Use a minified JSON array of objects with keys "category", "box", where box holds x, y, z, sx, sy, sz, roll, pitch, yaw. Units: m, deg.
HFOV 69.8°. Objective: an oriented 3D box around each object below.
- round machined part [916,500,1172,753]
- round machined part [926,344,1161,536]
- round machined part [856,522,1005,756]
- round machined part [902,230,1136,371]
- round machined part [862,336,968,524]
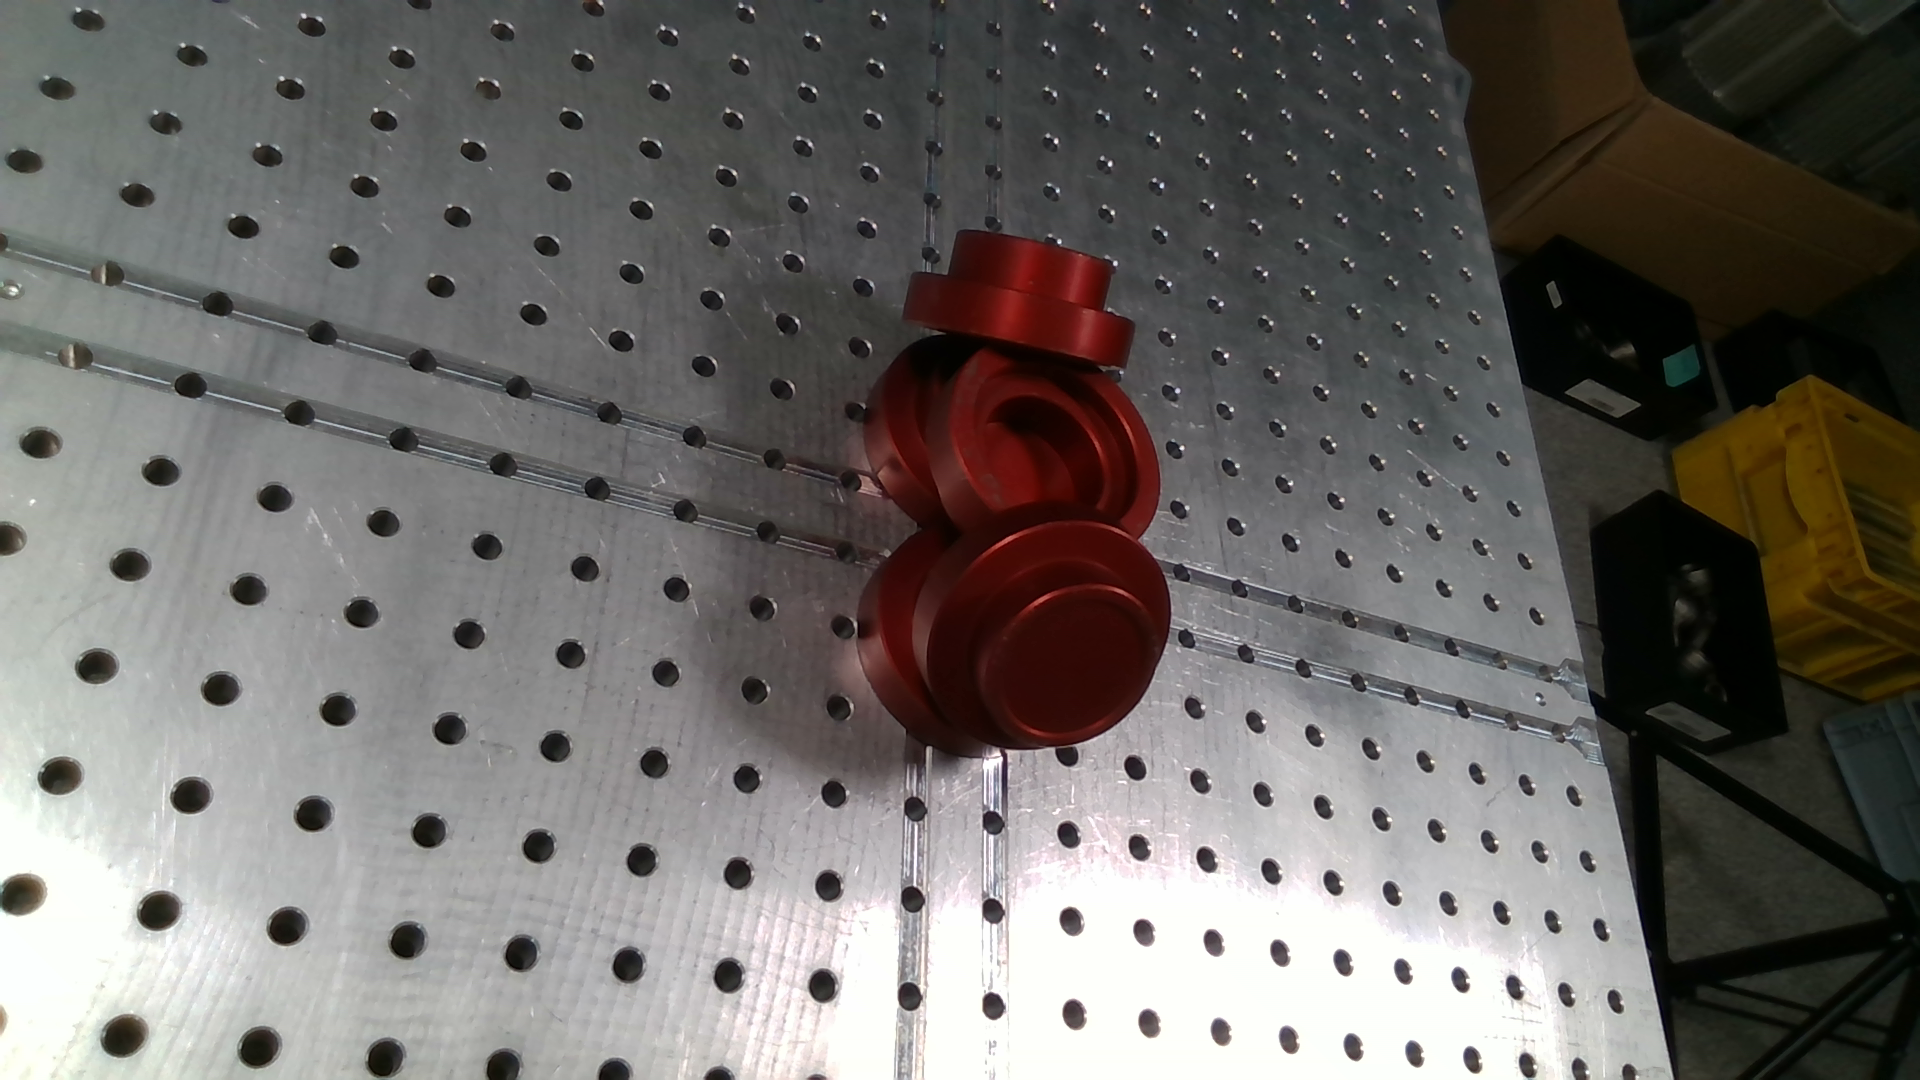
[{"category":"round machined part","box":[0.035,0.038,0.513,0.098,0.098,0.042,14,18,-25]},{"category":"round machined part","box":[0.029,-0.029,0.556,0.098,0.042,0.098,14,59,-25]},{"category":"round machined part","box":[0.010,0.036,0.565,0.098,0.042,0.098,14,59,-25]},{"category":"round machined part","box":[0.027,-0.103,0.584,0.098,0.098,0.042,9,98,-28]},{"category":"round machined part","box":[0.010,-0.050,0.610,0.098,0.042,0.098,14,59,-25]}]
